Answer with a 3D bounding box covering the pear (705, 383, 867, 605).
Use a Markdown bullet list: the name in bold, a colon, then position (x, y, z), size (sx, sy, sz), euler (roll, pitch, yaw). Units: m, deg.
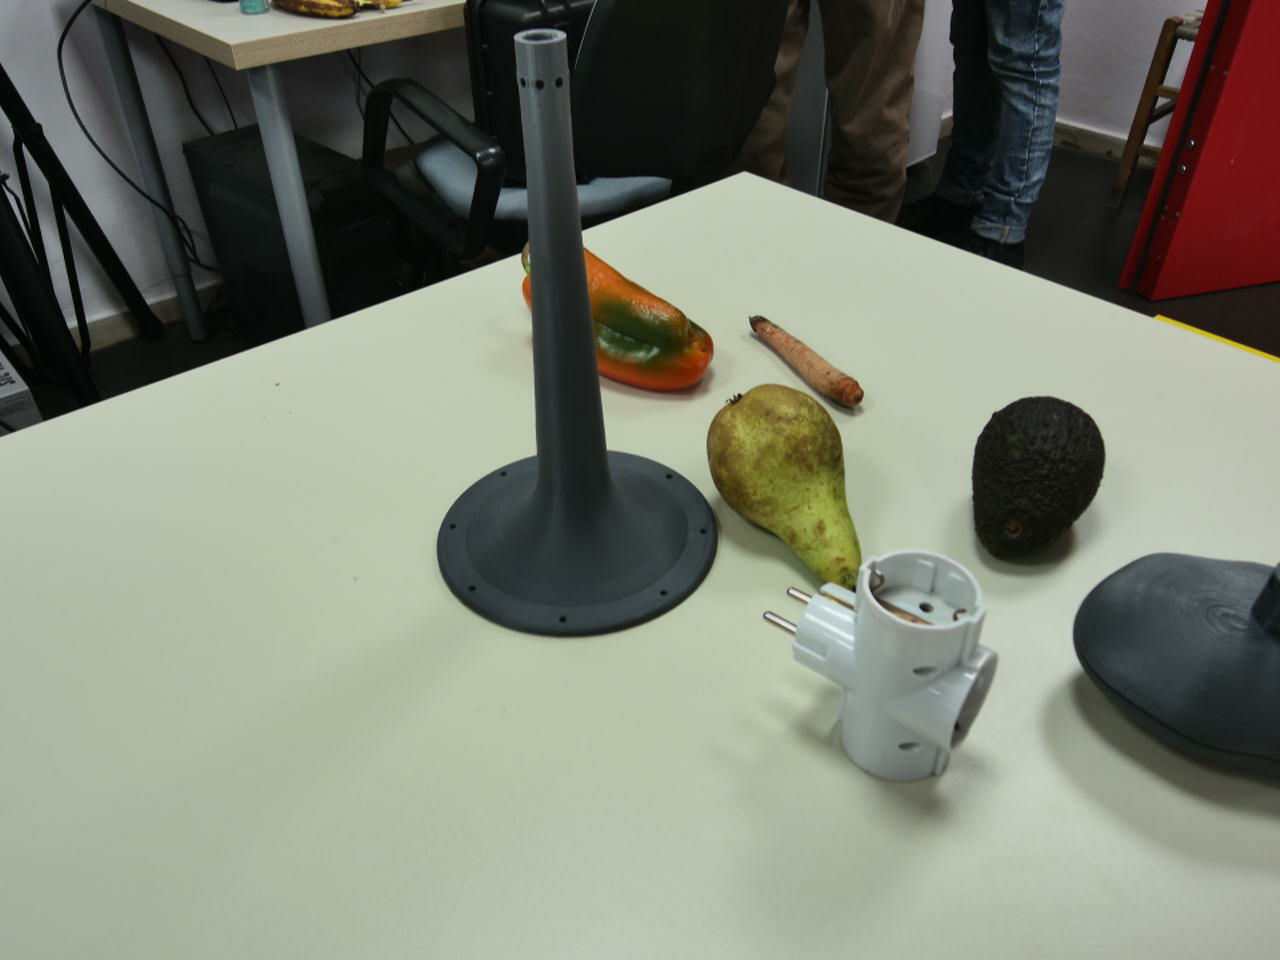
- **pear**: position (0.090, 0.003, 0.509), size (0.071, 0.075, 0.144), euler (-22, 41, -26)
